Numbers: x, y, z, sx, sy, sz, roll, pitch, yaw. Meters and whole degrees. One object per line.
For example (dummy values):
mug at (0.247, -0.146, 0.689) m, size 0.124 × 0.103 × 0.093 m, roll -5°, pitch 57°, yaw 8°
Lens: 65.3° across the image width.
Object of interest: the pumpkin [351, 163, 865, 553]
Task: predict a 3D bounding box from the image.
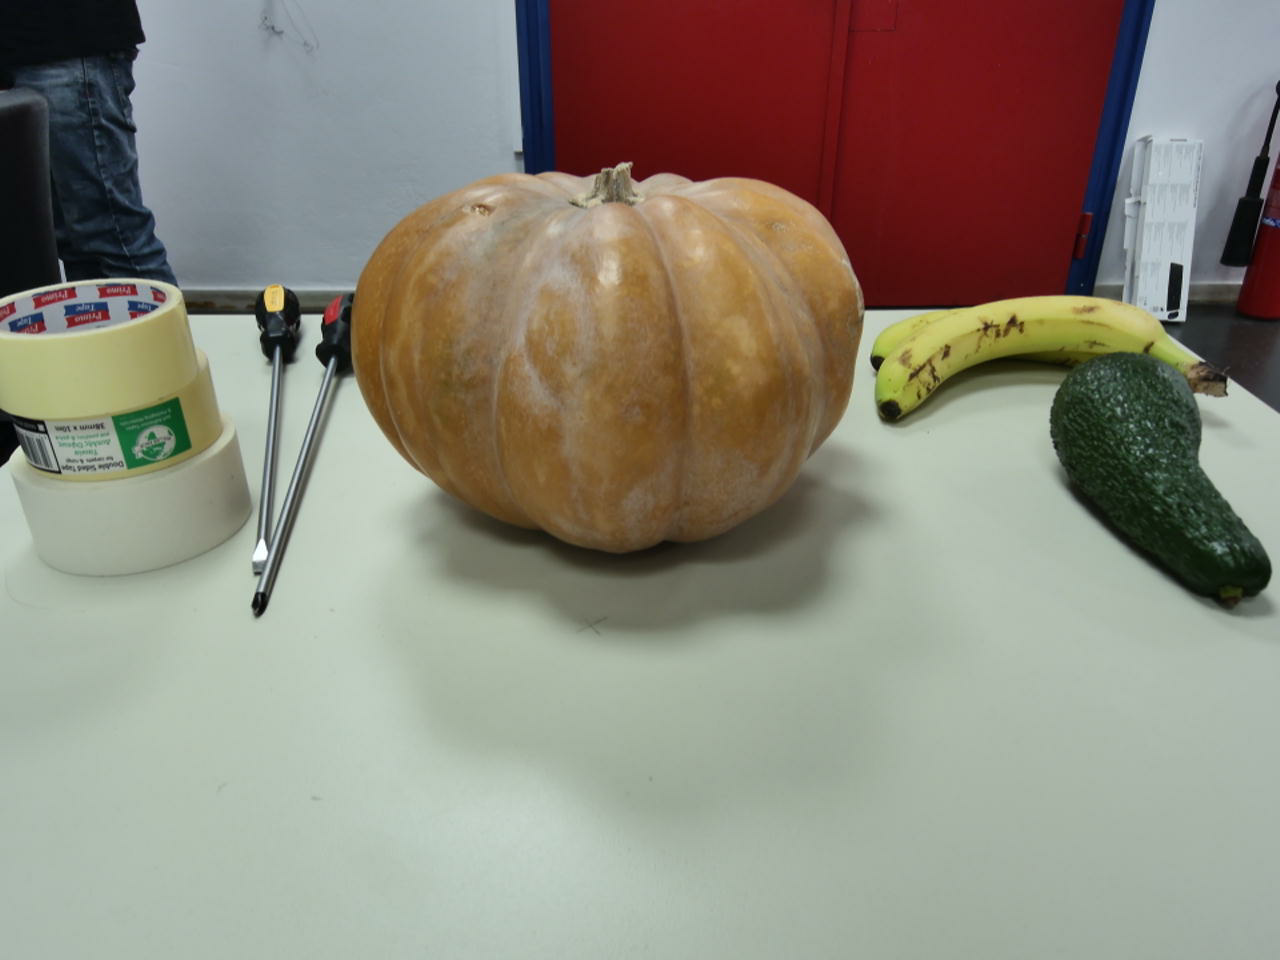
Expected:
pumpkin at (-0.014, -0.074, 0.533) m, size 0.277 × 0.181 × 0.277 m, roll 0°, pitch 26°, yaw 0°
